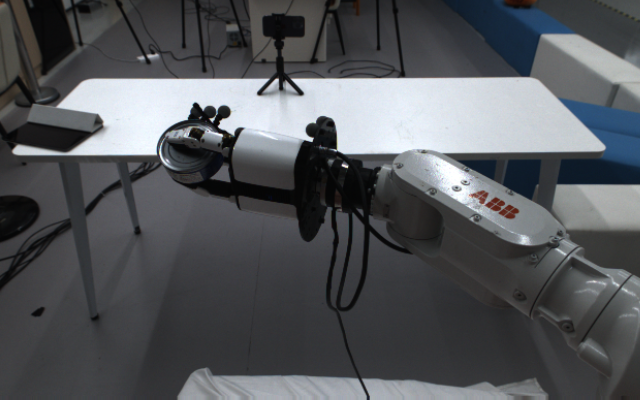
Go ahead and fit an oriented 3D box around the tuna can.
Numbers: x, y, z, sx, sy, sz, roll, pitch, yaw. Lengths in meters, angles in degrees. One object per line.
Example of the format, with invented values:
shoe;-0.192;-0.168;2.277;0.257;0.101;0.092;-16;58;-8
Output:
tuna can;-0.174;-0.065;0.659;0.085;0.034;0.085;-1;59;2
